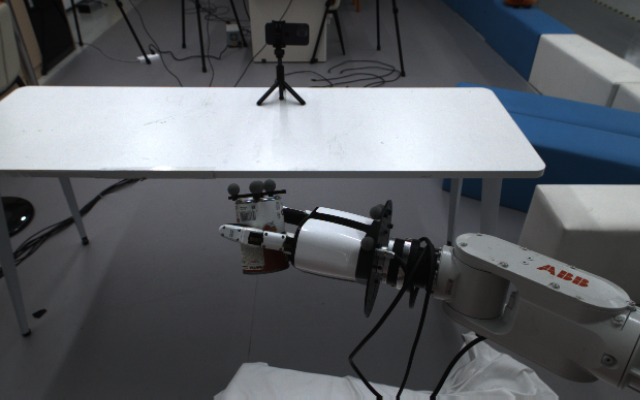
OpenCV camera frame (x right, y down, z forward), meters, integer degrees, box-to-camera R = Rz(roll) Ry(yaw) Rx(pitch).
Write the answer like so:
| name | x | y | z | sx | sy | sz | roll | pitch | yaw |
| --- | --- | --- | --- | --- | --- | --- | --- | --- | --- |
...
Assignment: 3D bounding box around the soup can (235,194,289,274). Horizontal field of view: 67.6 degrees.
| name | x | y | z | sx | sy | sz | roll | pitch | yaw |
| --- | --- | --- | --- | --- | --- | --- | --- | --- | --- |
| soup can | -0.079 | 0.049 | 0.677 | 0.067 | 0.101 | 0.067 | -7 | 3 | 0 |
